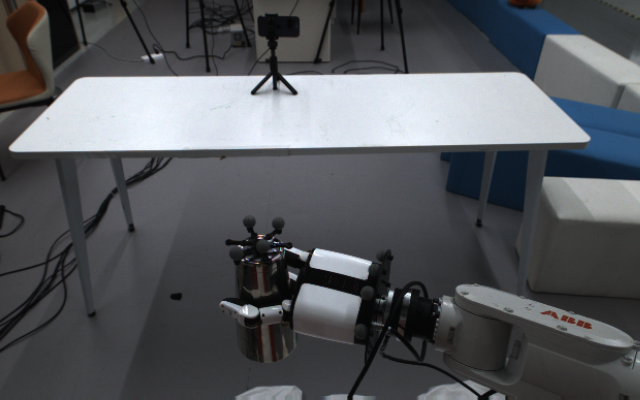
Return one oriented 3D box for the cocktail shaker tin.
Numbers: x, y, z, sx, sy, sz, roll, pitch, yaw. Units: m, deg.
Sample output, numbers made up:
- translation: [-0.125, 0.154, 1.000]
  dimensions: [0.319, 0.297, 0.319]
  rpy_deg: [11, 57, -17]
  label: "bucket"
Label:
- translation: [-0.077, 0.136, 0.685]
  dimensions: [0.093, 0.170, 0.093]
  rpy_deg: [0, 33, 0]
  label: "cocktail shaker tin"
